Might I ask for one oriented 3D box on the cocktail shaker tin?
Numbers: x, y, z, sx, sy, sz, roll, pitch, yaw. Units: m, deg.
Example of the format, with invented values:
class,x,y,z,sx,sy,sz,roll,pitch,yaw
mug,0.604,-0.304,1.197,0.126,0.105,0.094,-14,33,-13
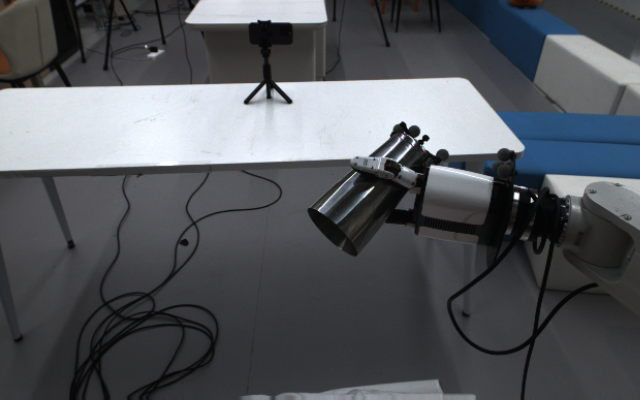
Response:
class,x,y,z,sx,sy,sz,roll,pitch,yaw
cocktail shaker tin,0.074,-0.019,0.675,0.170,0.093,0.093,-43,50,-14
